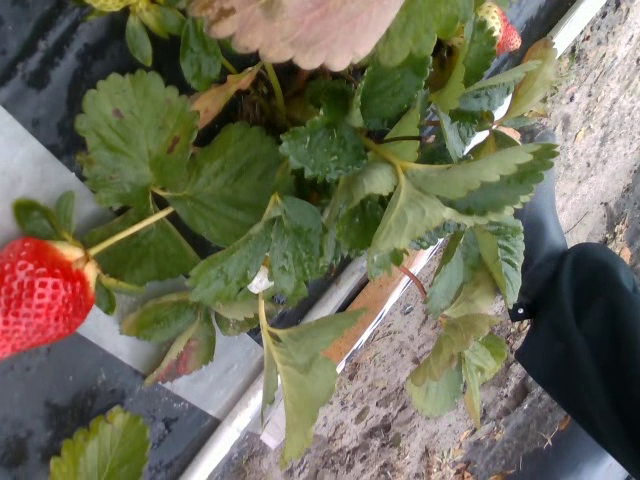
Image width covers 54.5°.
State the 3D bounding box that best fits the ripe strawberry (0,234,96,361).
[{"bbox_3d":[-0.099,0.022,0.202,0.037,0.051,0.042,38,-27,6],"label":"ripe strawberry"}]
